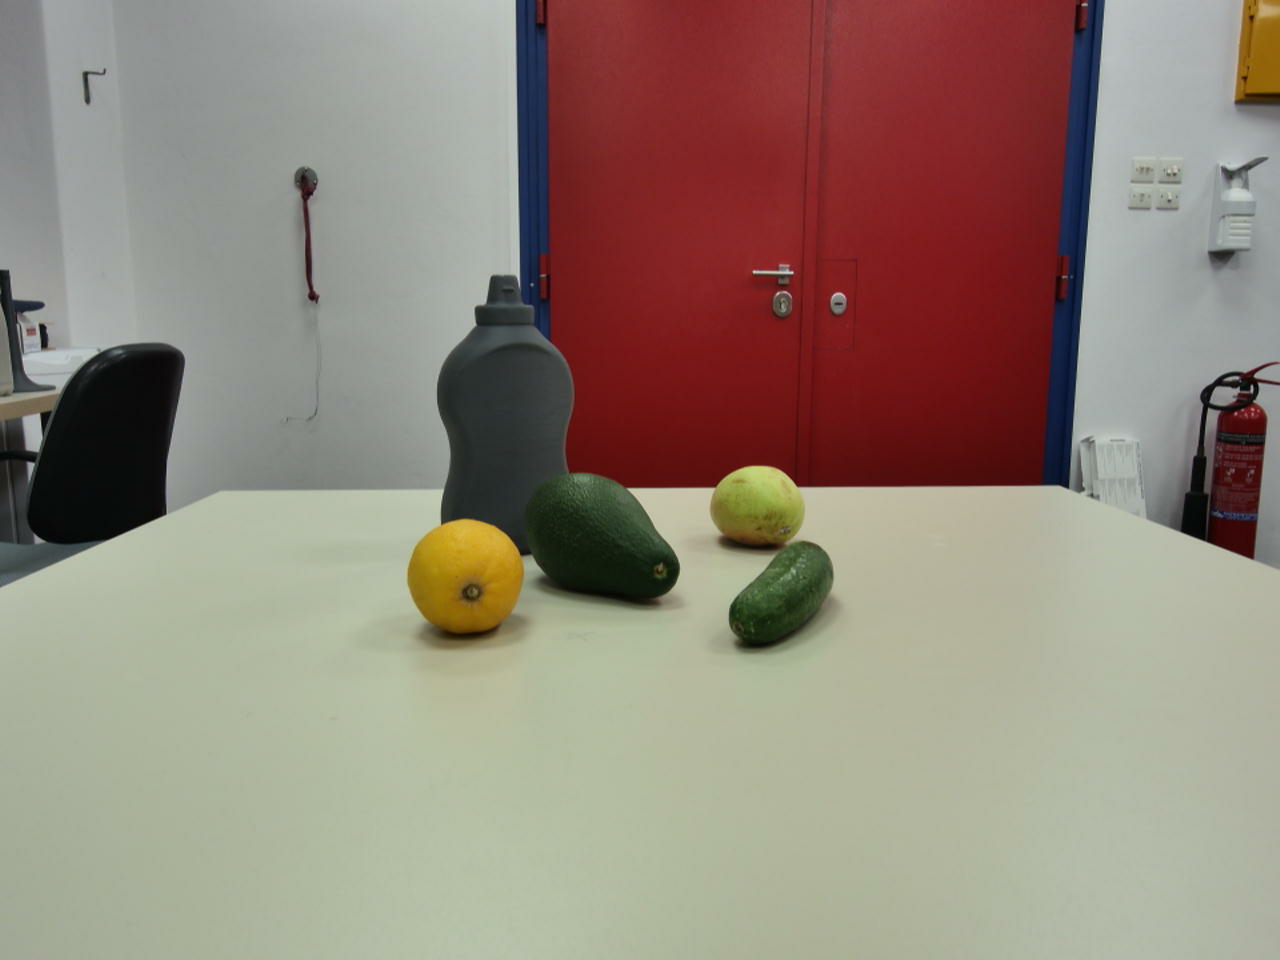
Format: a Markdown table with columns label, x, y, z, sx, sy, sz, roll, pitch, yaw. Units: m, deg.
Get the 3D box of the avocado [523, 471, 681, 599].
| label | x | y | z | sx | sy | sz | roll | pitch | yaw |
| --- | --- | --- | --- | --- | --- | --- | --- | --- | --- |
| avocado | -0.027 | 0.032 | 0.597 | 0.072 | 0.071 | 0.110 | -3 | 8 | -23 |
